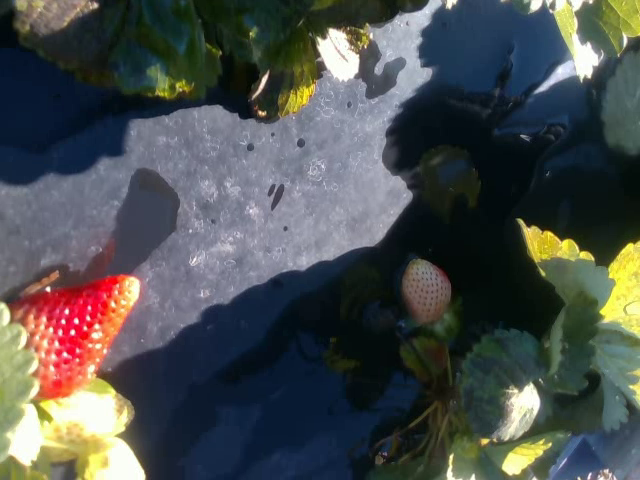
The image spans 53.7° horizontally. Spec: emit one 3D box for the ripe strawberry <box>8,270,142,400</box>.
[{"bbox_3d":[-0.092,0.031,0.233,0.064,0.052,0.050,-42,-19,1],"label":"ripe strawberry"}]
